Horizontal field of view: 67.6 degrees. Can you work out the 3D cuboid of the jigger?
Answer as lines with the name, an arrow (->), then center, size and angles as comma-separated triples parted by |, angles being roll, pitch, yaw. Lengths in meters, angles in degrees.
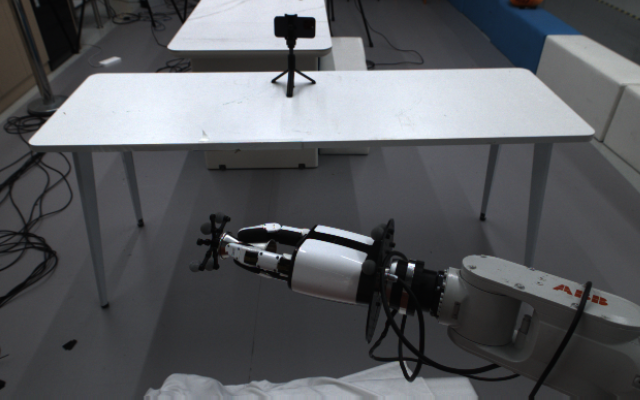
jigger -> -0.093, 0.064, 0.660 | 0.071, 0.043, 0.043 | 10, 35, 16
